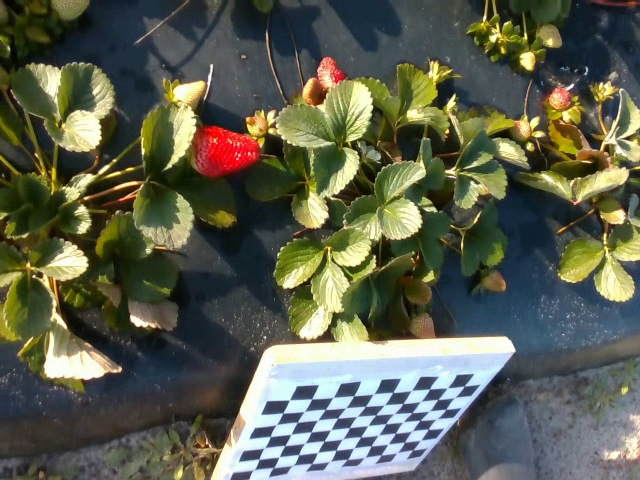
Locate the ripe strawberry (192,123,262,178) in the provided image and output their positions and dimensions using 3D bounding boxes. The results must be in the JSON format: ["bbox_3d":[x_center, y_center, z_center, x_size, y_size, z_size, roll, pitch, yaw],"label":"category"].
[{"bbox_3d":[-0.085,-0.081,0.575,0.072,0.055,0.057,-8,-41,-1],"label":"ripe strawberry"}]
